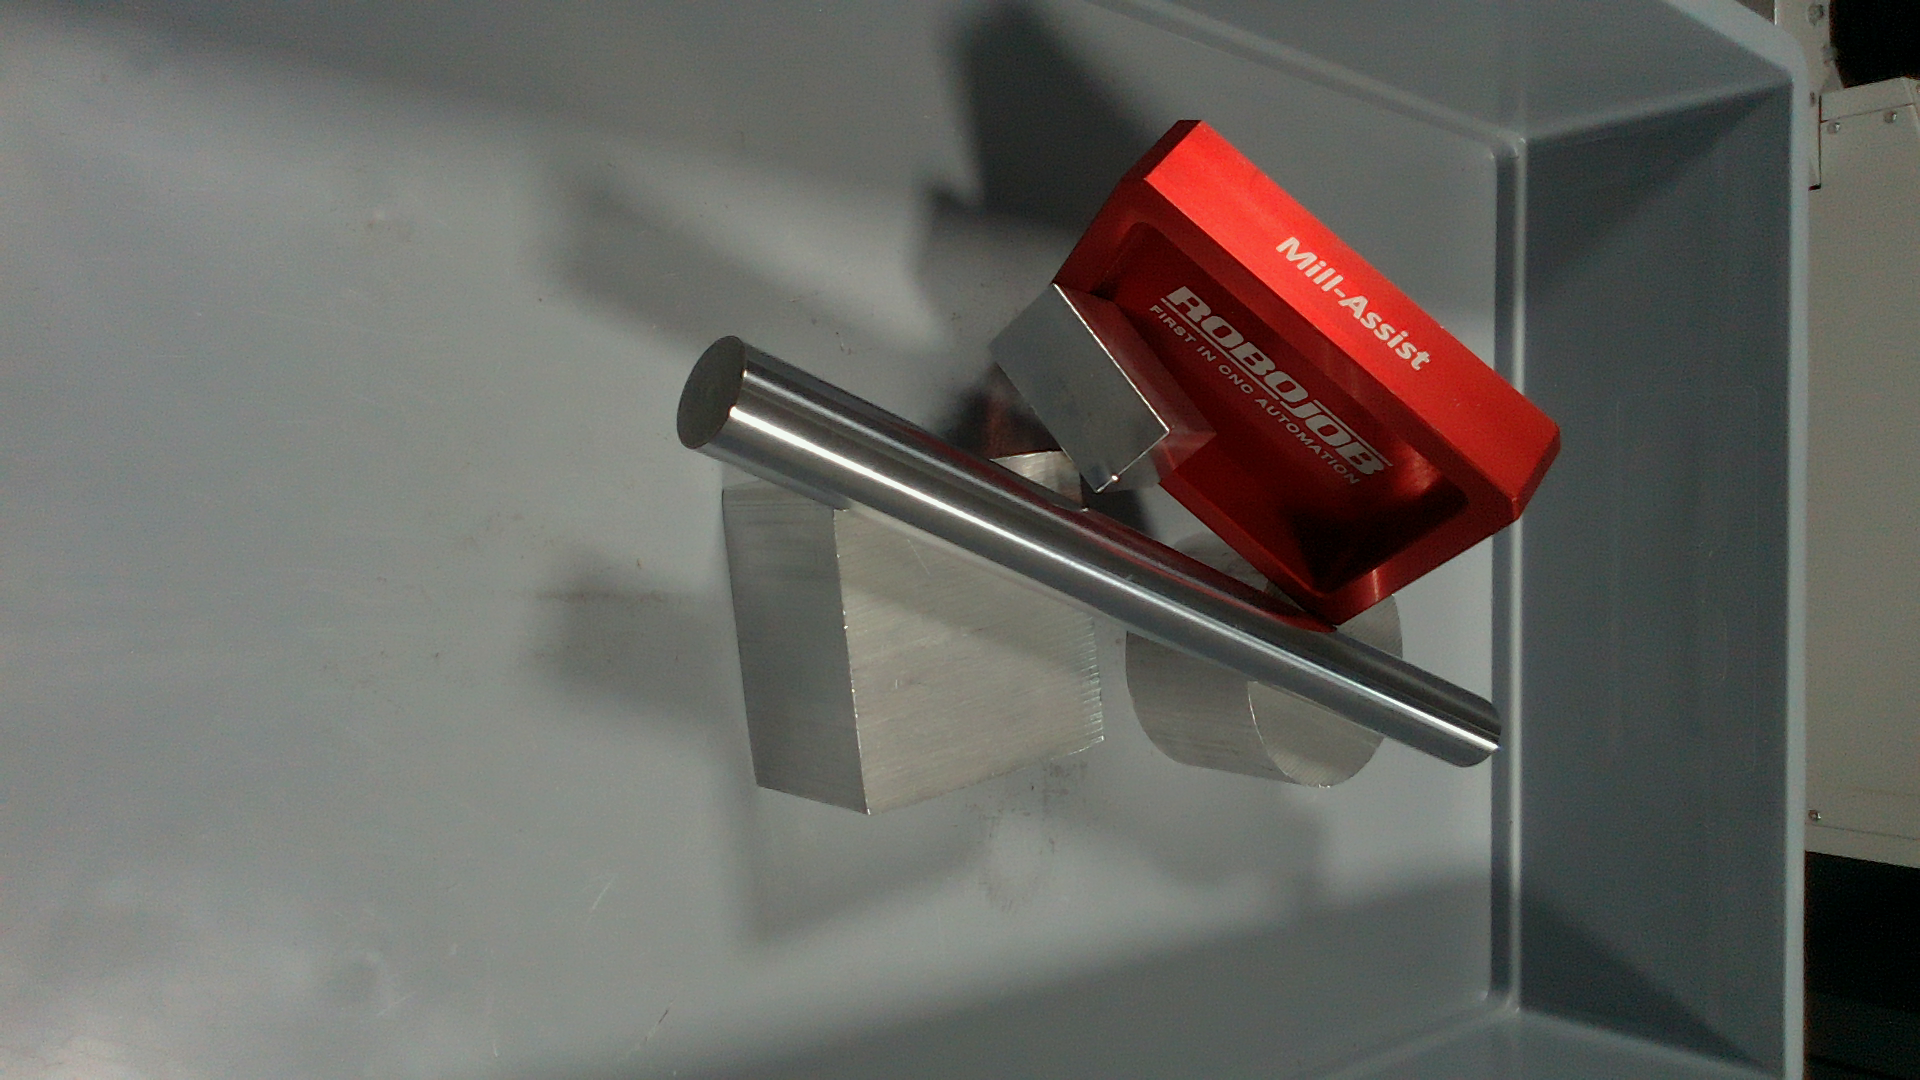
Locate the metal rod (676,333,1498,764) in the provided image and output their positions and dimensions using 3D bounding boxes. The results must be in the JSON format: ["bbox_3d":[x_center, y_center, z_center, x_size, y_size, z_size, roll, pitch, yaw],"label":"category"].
[{"bbox_3d":[0.059,0.016,0.371,0.301,0.025,0.025,23,76,-37],"label":"metal rod"}]

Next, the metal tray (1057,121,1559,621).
[{"bbox_3d":[0.085,-0.042,0.384,0.130,0.090,0.030,41,60,1],"label":"metal tray"}]

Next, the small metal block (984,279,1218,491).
[{"bbox_3d":[0.040,-0.041,0.377,0.050,0.025,0.050,54,21,12],"label":"small metal block"}]

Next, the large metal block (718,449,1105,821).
[{"bbox_3d":[-0.011,0.021,0.362,0.080,0.050,0.080,-10,96,-39],"label":"large metal block"}]

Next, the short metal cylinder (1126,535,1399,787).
[{"bbox_3d":[0.101,0.038,0.455,0.080,0.050,0.080,0,90,-40],"label":"short metal cylinder"}]
